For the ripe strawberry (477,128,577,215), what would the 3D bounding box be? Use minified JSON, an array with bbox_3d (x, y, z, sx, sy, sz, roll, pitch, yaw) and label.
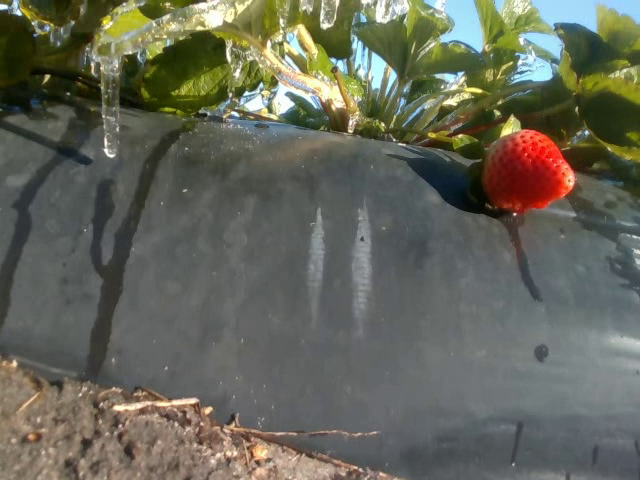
[{"bbox_3d":[0.092,-0.028,0.256,0.039,0.041,0.053,-2,20,-12],"label":"ripe strawberry"}]
